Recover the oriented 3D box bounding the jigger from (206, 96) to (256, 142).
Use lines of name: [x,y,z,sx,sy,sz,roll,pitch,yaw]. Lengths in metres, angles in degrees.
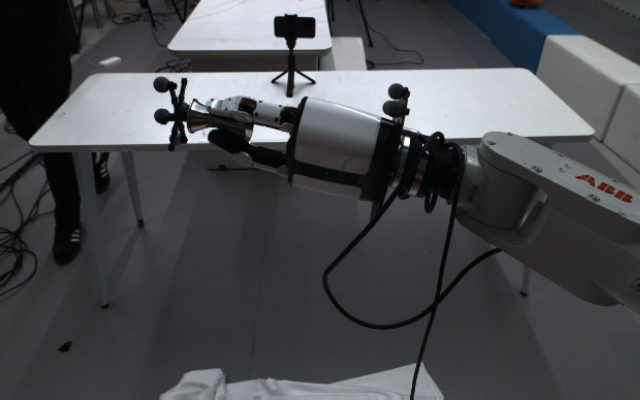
jigger: [-0.107,-0.096,0.563,0.071,0.043,0.043,7,35,2]
